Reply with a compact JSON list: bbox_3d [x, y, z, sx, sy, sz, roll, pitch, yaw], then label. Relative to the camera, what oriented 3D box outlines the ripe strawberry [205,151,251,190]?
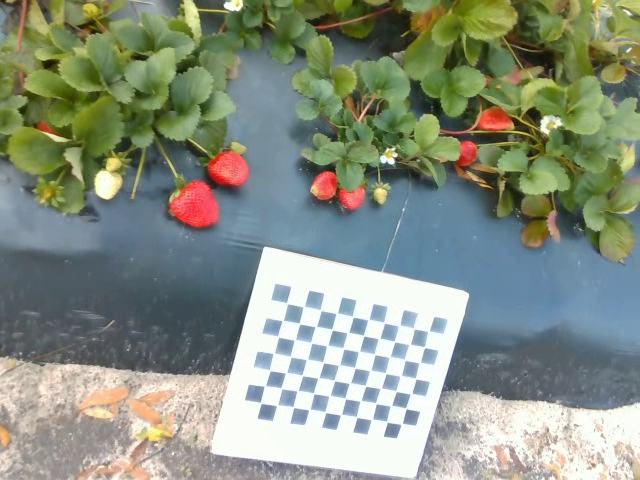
[{"bbox_3d":[-0.116,-0.090,0.793,0.059,0.051,0.051,43,7,31],"label":"ripe strawberry"}]

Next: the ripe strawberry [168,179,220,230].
[{"bbox_3d":[-0.153,-0.041,0.767,0.065,0.059,0.044,45,4,-1],"label":"ripe strawberry"}]

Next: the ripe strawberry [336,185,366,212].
[{"bbox_3d":[0.044,-0.057,0.826,0.043,0.041,0.049,8,37,-14],"label":"ripe strawberry"}]

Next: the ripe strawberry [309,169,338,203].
[{"bbox_3d":[0.002,-0.071,0.825,0.038,0.047,0.053,13,25,43],"label":"ripe strawberry"}]
